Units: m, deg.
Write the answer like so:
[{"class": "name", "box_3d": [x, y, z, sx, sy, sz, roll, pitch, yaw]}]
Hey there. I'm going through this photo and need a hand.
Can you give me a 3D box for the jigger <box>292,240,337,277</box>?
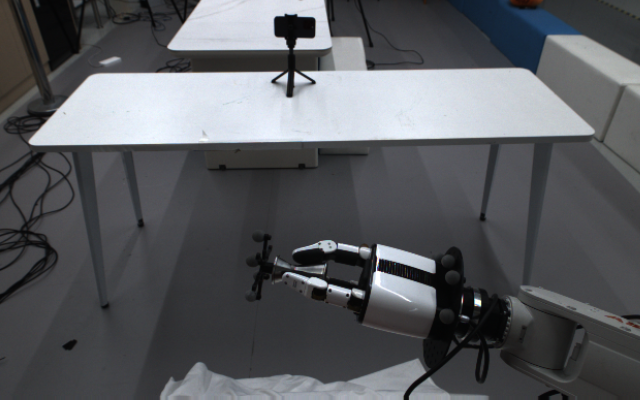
[{"class": "jigger", "box_3d": [-0.019, 0.094, 0.641, 0.071, 0.043, 0.043, 8, 35, 4]}]
